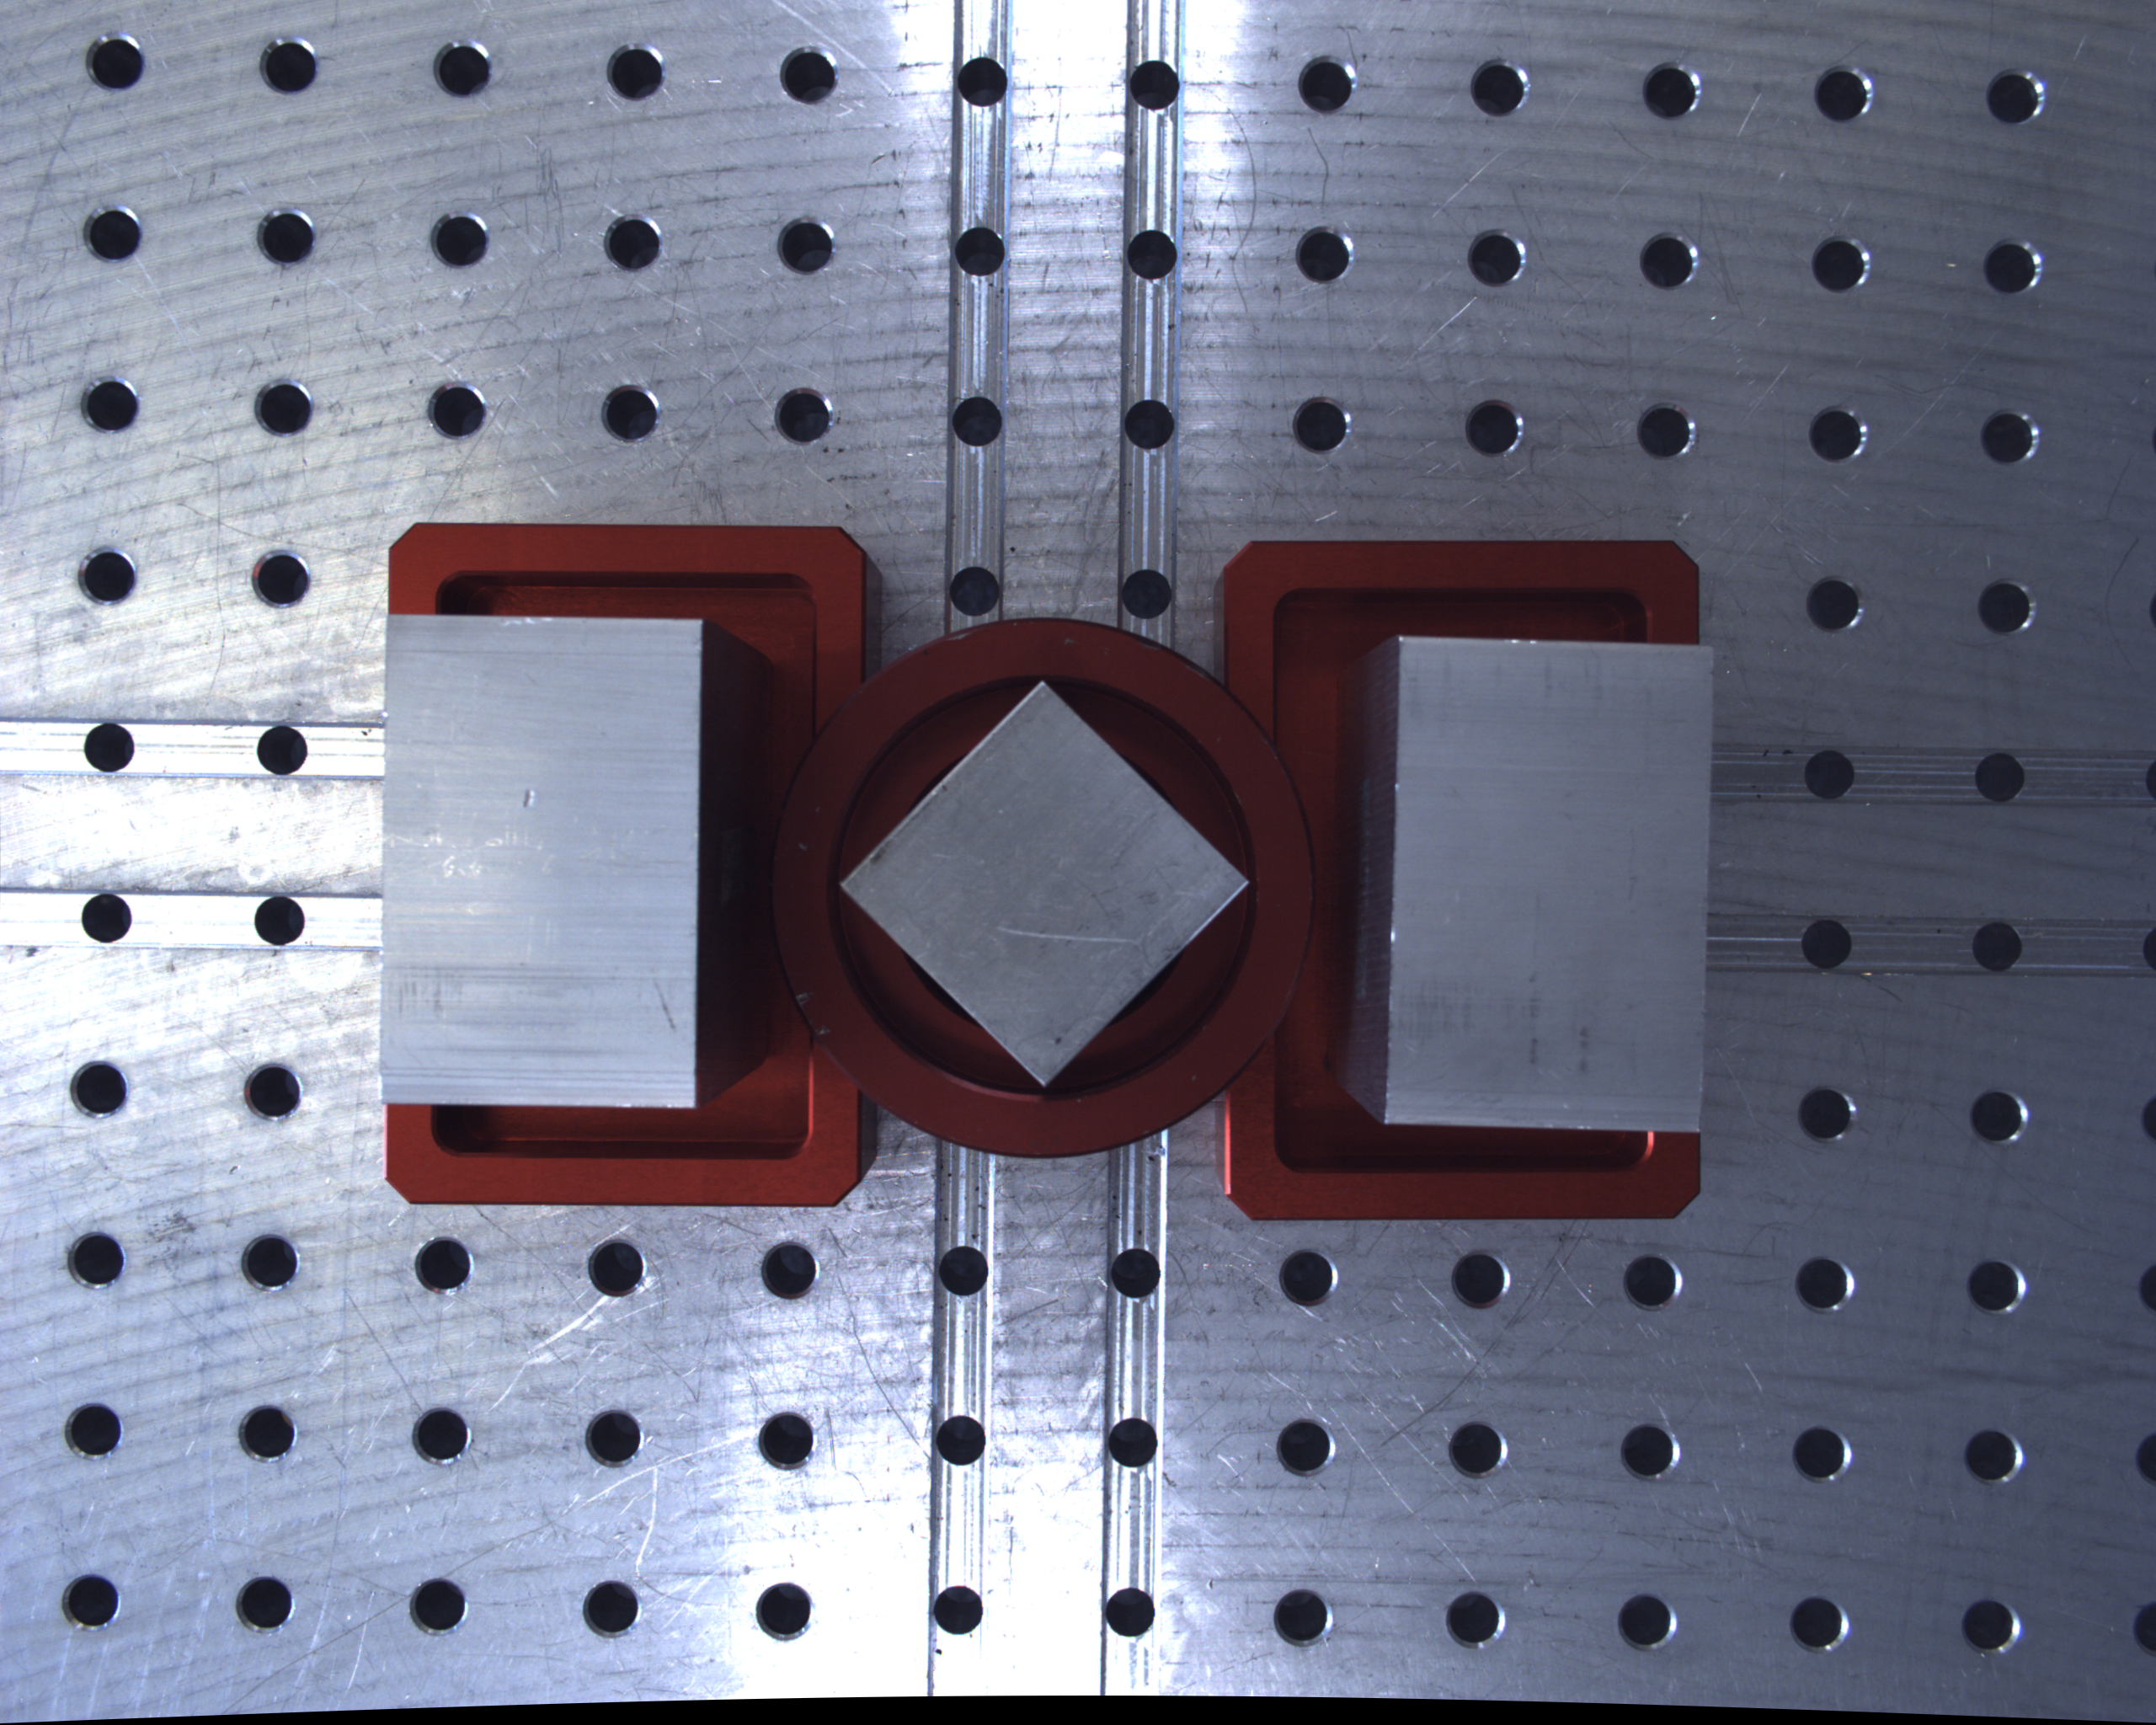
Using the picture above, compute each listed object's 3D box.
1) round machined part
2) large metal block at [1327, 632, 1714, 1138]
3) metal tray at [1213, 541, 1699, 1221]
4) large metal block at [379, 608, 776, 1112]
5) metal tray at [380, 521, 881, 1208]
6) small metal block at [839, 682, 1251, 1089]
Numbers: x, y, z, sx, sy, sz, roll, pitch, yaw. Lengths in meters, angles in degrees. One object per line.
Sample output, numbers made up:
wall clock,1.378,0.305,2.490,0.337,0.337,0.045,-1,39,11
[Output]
round machined part,-0.006,0.005,0.396,0.099,0.042,0.097,0,90,0
large metal block,0.075,0.003,0.373,0.050,0.080,0.080,2,90,0
metal tray,0.073,0.003,0.410,0.091,0.030,0.129,0,90,0
large metal block,-0.085,-0.001,0.372,0.050,0.080,0.080,1,90,0
metal tray,-0.086,0.000,0.409,0.091,0.030,0.129,1,90,0
small metal block,-0.006,0.004,0.372,0.050,0.025,0.050,45,90,0
